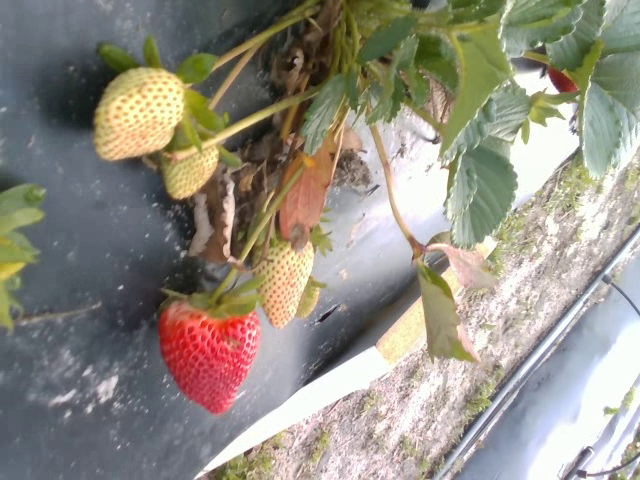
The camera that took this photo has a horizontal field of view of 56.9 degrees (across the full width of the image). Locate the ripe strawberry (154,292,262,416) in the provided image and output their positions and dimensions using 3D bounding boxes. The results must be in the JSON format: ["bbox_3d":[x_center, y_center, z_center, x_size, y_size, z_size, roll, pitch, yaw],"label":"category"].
[{"bbox_3d":[-0.044,0.048,0.244,0.033,0.059,0.050,15,29,38],"label":"ripe strawberry"}]
